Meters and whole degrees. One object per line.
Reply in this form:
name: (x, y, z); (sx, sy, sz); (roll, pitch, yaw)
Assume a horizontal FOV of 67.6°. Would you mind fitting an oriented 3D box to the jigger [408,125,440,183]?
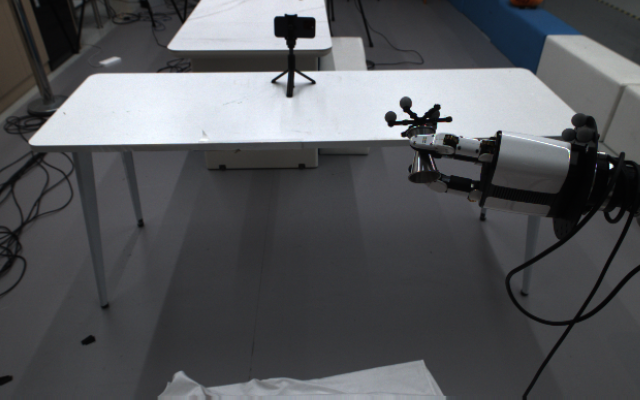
jigger: (0.139, -0.064, 0.657); (0.043, 0.043, 0.071); (1, 70, -2)
